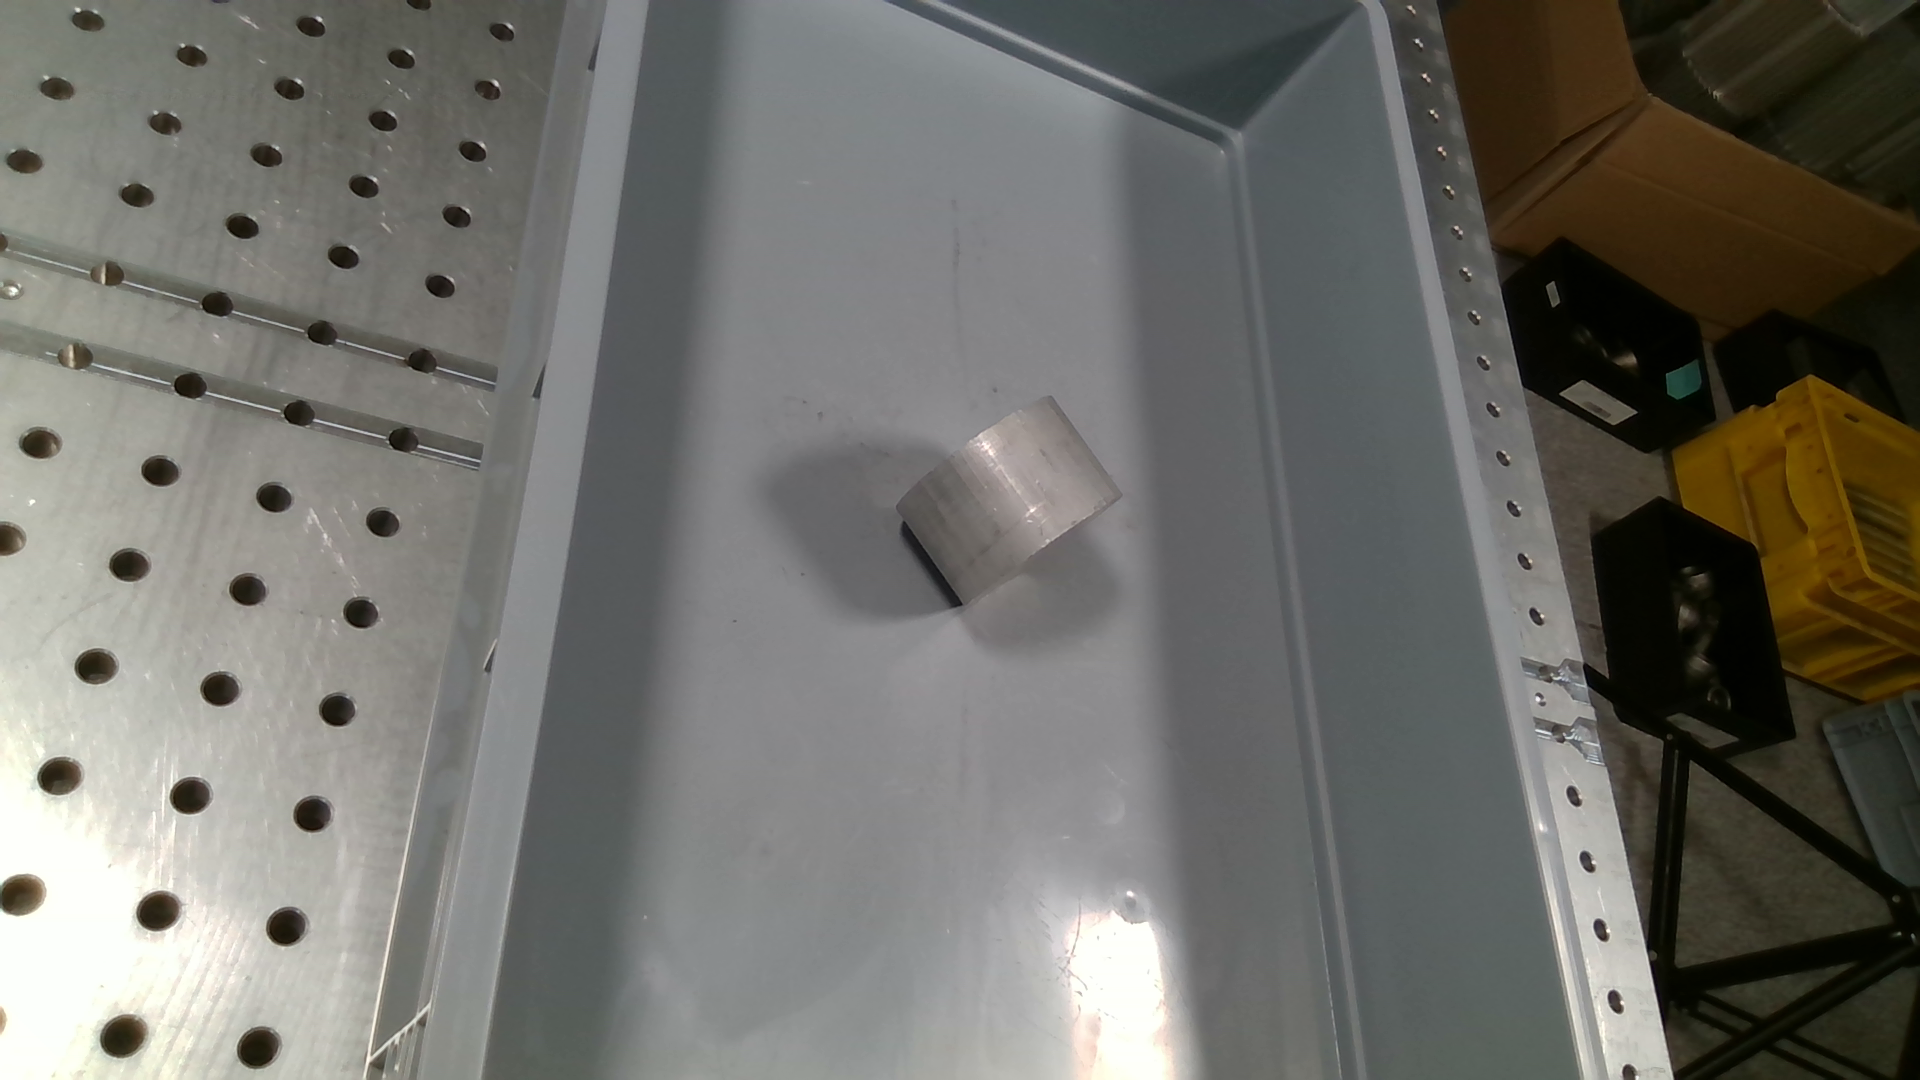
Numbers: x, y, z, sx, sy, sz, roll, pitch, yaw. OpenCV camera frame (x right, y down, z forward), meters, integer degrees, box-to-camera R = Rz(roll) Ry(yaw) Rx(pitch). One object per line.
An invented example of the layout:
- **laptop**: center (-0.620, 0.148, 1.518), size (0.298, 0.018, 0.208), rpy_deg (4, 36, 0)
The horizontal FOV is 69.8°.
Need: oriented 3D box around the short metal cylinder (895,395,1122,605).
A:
- **short metal cylinder**: center (0.020, -0.016, 0.569), size (0.080, 0.080, 0.050), rpy_deg (-32, 84, -39)
